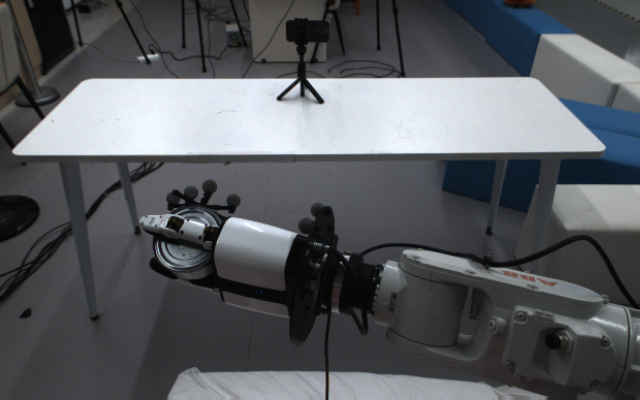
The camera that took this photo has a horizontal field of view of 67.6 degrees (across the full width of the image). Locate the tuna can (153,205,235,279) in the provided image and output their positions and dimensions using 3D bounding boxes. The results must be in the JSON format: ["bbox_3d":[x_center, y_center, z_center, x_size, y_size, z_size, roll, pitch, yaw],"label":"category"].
[{"bbox_3d":[-0.152,0.052,0.582,0.085,0.034,0.085,-3,61,6],"label":"tuna can"}]
